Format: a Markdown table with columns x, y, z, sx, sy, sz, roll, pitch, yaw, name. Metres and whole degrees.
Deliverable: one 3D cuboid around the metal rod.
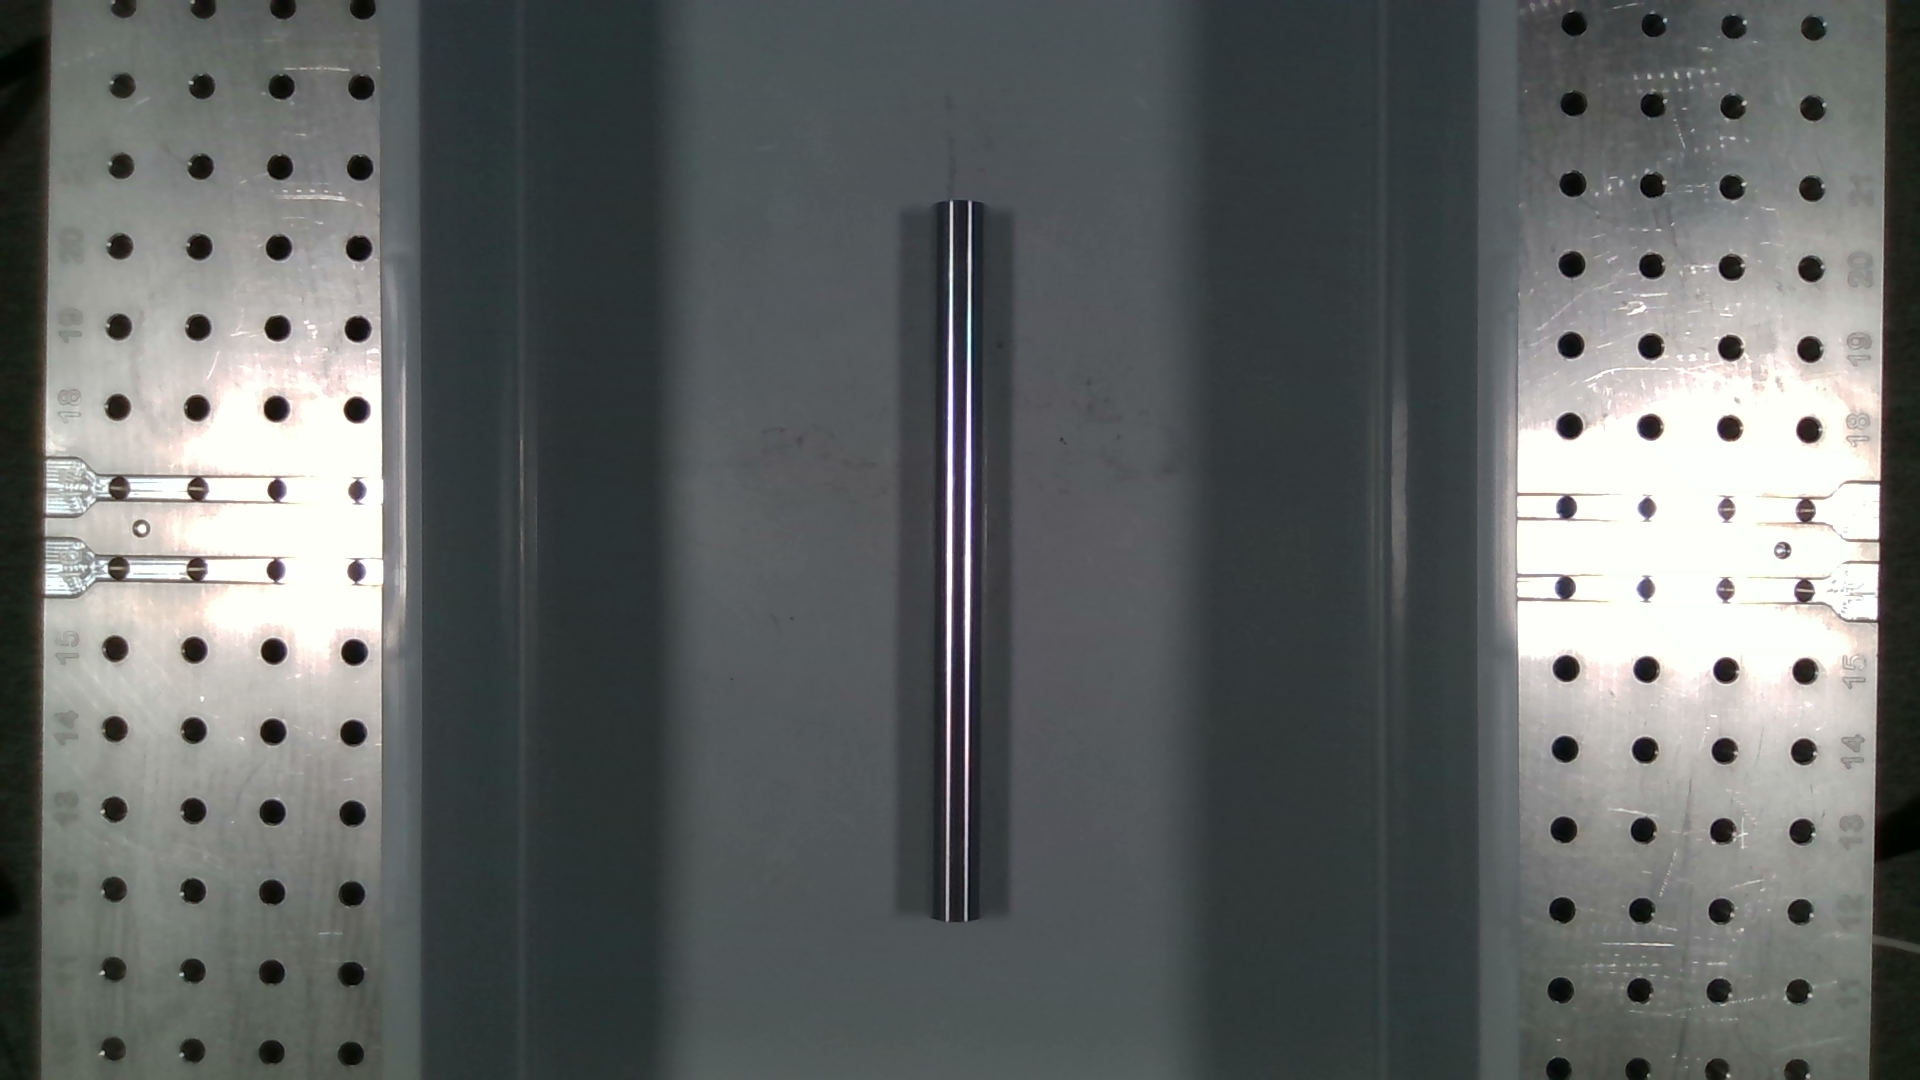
| x | y | z | sx | sy | sz | roll | pitch | yaw | name |
| --- | --- | --- | --- | --- | --- | --- | --- | --- | --- |
| -0.001 | 0.009 | 0.585 | 0.025 | 0.025 | 0.300 | 0 | 91 | 0 | metal rod |
